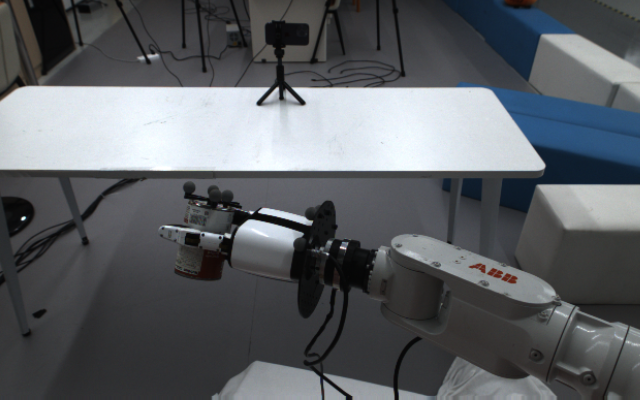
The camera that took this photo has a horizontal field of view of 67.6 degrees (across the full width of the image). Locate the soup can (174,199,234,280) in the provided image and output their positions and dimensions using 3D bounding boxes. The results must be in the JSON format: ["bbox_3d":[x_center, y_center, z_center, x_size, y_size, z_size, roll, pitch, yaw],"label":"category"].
[{"bbox_3d":[-0.161,0.057,0.677,0.067,0.101,0.067,12,2,0],"label":"soup can"}]
